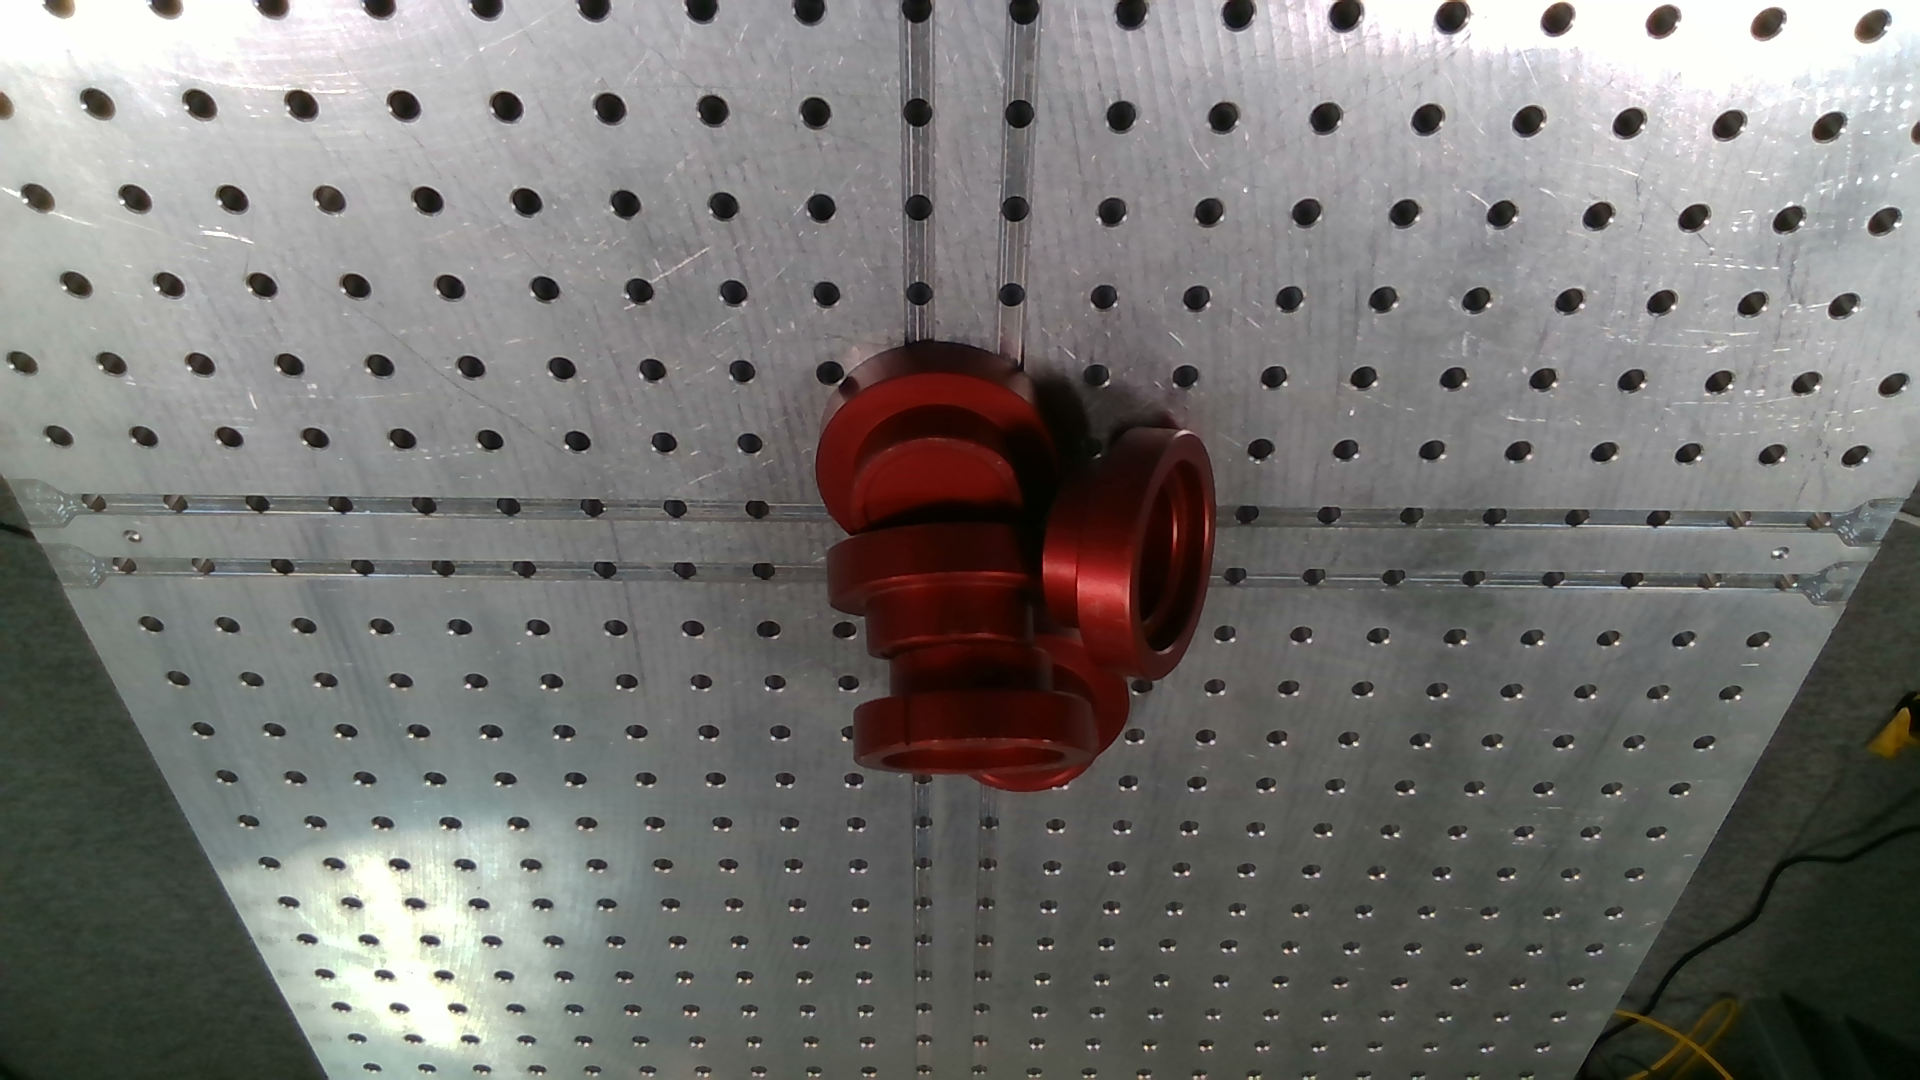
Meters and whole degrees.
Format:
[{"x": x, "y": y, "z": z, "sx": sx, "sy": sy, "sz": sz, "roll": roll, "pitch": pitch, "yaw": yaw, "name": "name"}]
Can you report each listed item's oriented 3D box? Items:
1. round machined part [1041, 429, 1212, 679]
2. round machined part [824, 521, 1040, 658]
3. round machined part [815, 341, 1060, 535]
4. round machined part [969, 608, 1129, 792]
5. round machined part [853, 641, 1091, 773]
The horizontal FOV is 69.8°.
[{"x": 0.065, "y": 0.004, "z": 0.544, "sx": 0.042, "sy": 0.098, "sz": 0.098, "roll": 8, "pitch": 135, "yaw": 27, "name": "round machined part"}, {"x": -0.006, "y": 0.025, "z": 0.561, "sx": 0.098, "sy": 0.042, "sz": 0.098, "roll": -3, "pitch": 167, "yaw": -1, "name": "round machined part"}, {"x": -0.009, "y": -0.027, "z": 0.549, "sx": 0.098, "sy": 0.042, "sz": 0.098, "roll": 0, "pitch": 130, "yaw": 0, "name": "round machined part"}, {"x": 0.029, "y": 0.079, "z": 0.637, "sx": 0.098, "sy": 0.042, "sz": 0.098, "roll": 0, "pitch": 130, "yaw": 0, "name": "round machined part"}, {"x": 0.005, "y": 0.070, "z": 0.567, "sx": 0.098, "sy": 0.042, "sz": 0.098, "roll": -1, "pitch": 163, "yaw": 0, "name": "round machined part"}]
